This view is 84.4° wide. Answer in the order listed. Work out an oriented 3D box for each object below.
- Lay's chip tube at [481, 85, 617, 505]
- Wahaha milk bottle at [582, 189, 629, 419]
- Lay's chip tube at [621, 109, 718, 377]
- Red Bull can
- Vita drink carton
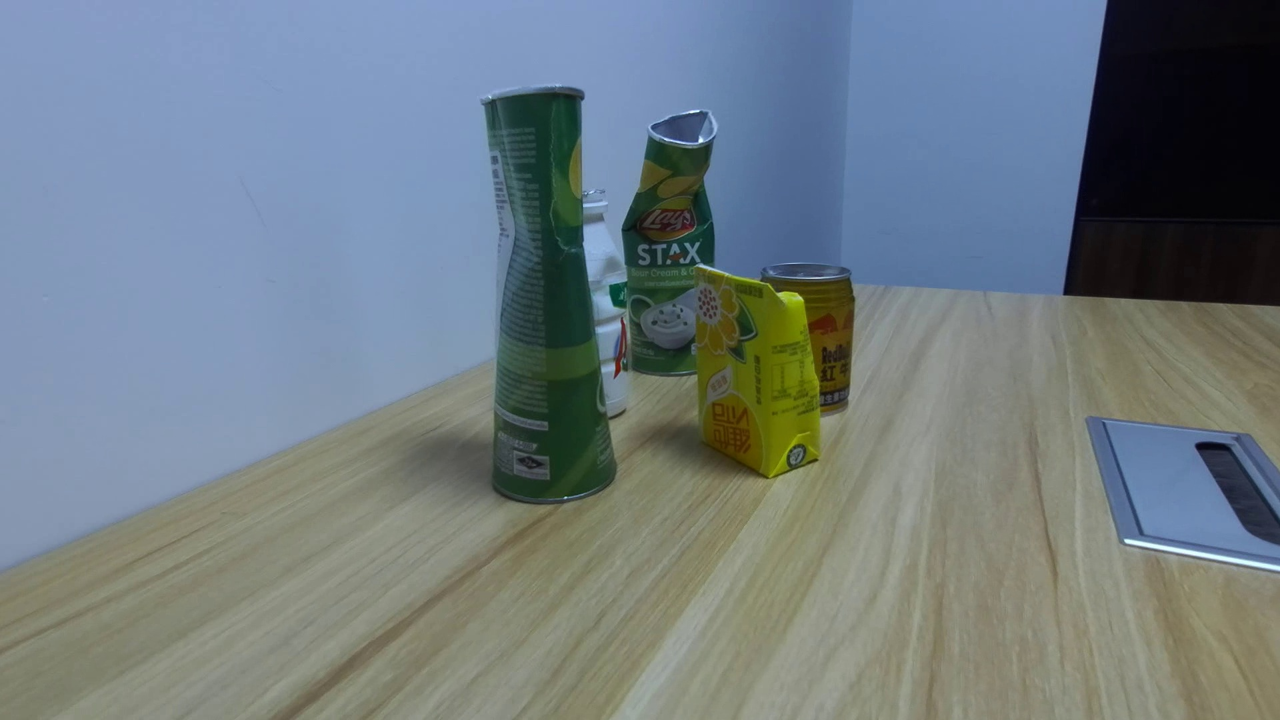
[{"bbox_3d":[-0.051,-0.030,0.364,0.074,0.199,0.069,6,19,25],"label":"Lay's chip tube"},{"bbox_3d":[-0.032,-0.036,0.468,0.055,0.149,0.055,0,16,0],"label":"Wahaha milk bottle"},{"bbox_3d":[0.031,-0.088,0.546,0.079,0.199,0.070,-14,32,-24],"label":"Lay's chip tube"},{"bbox_3d":[0.112,-0.015,0.483,0.067,0.093,0.067,-1,15,1],"label":"Red Bull can"},{"bbox_3d":[0.067,0.002,0.396,0.046,0.110,0.071,-14,22,-28],"label":"Vita drink carton"}]
